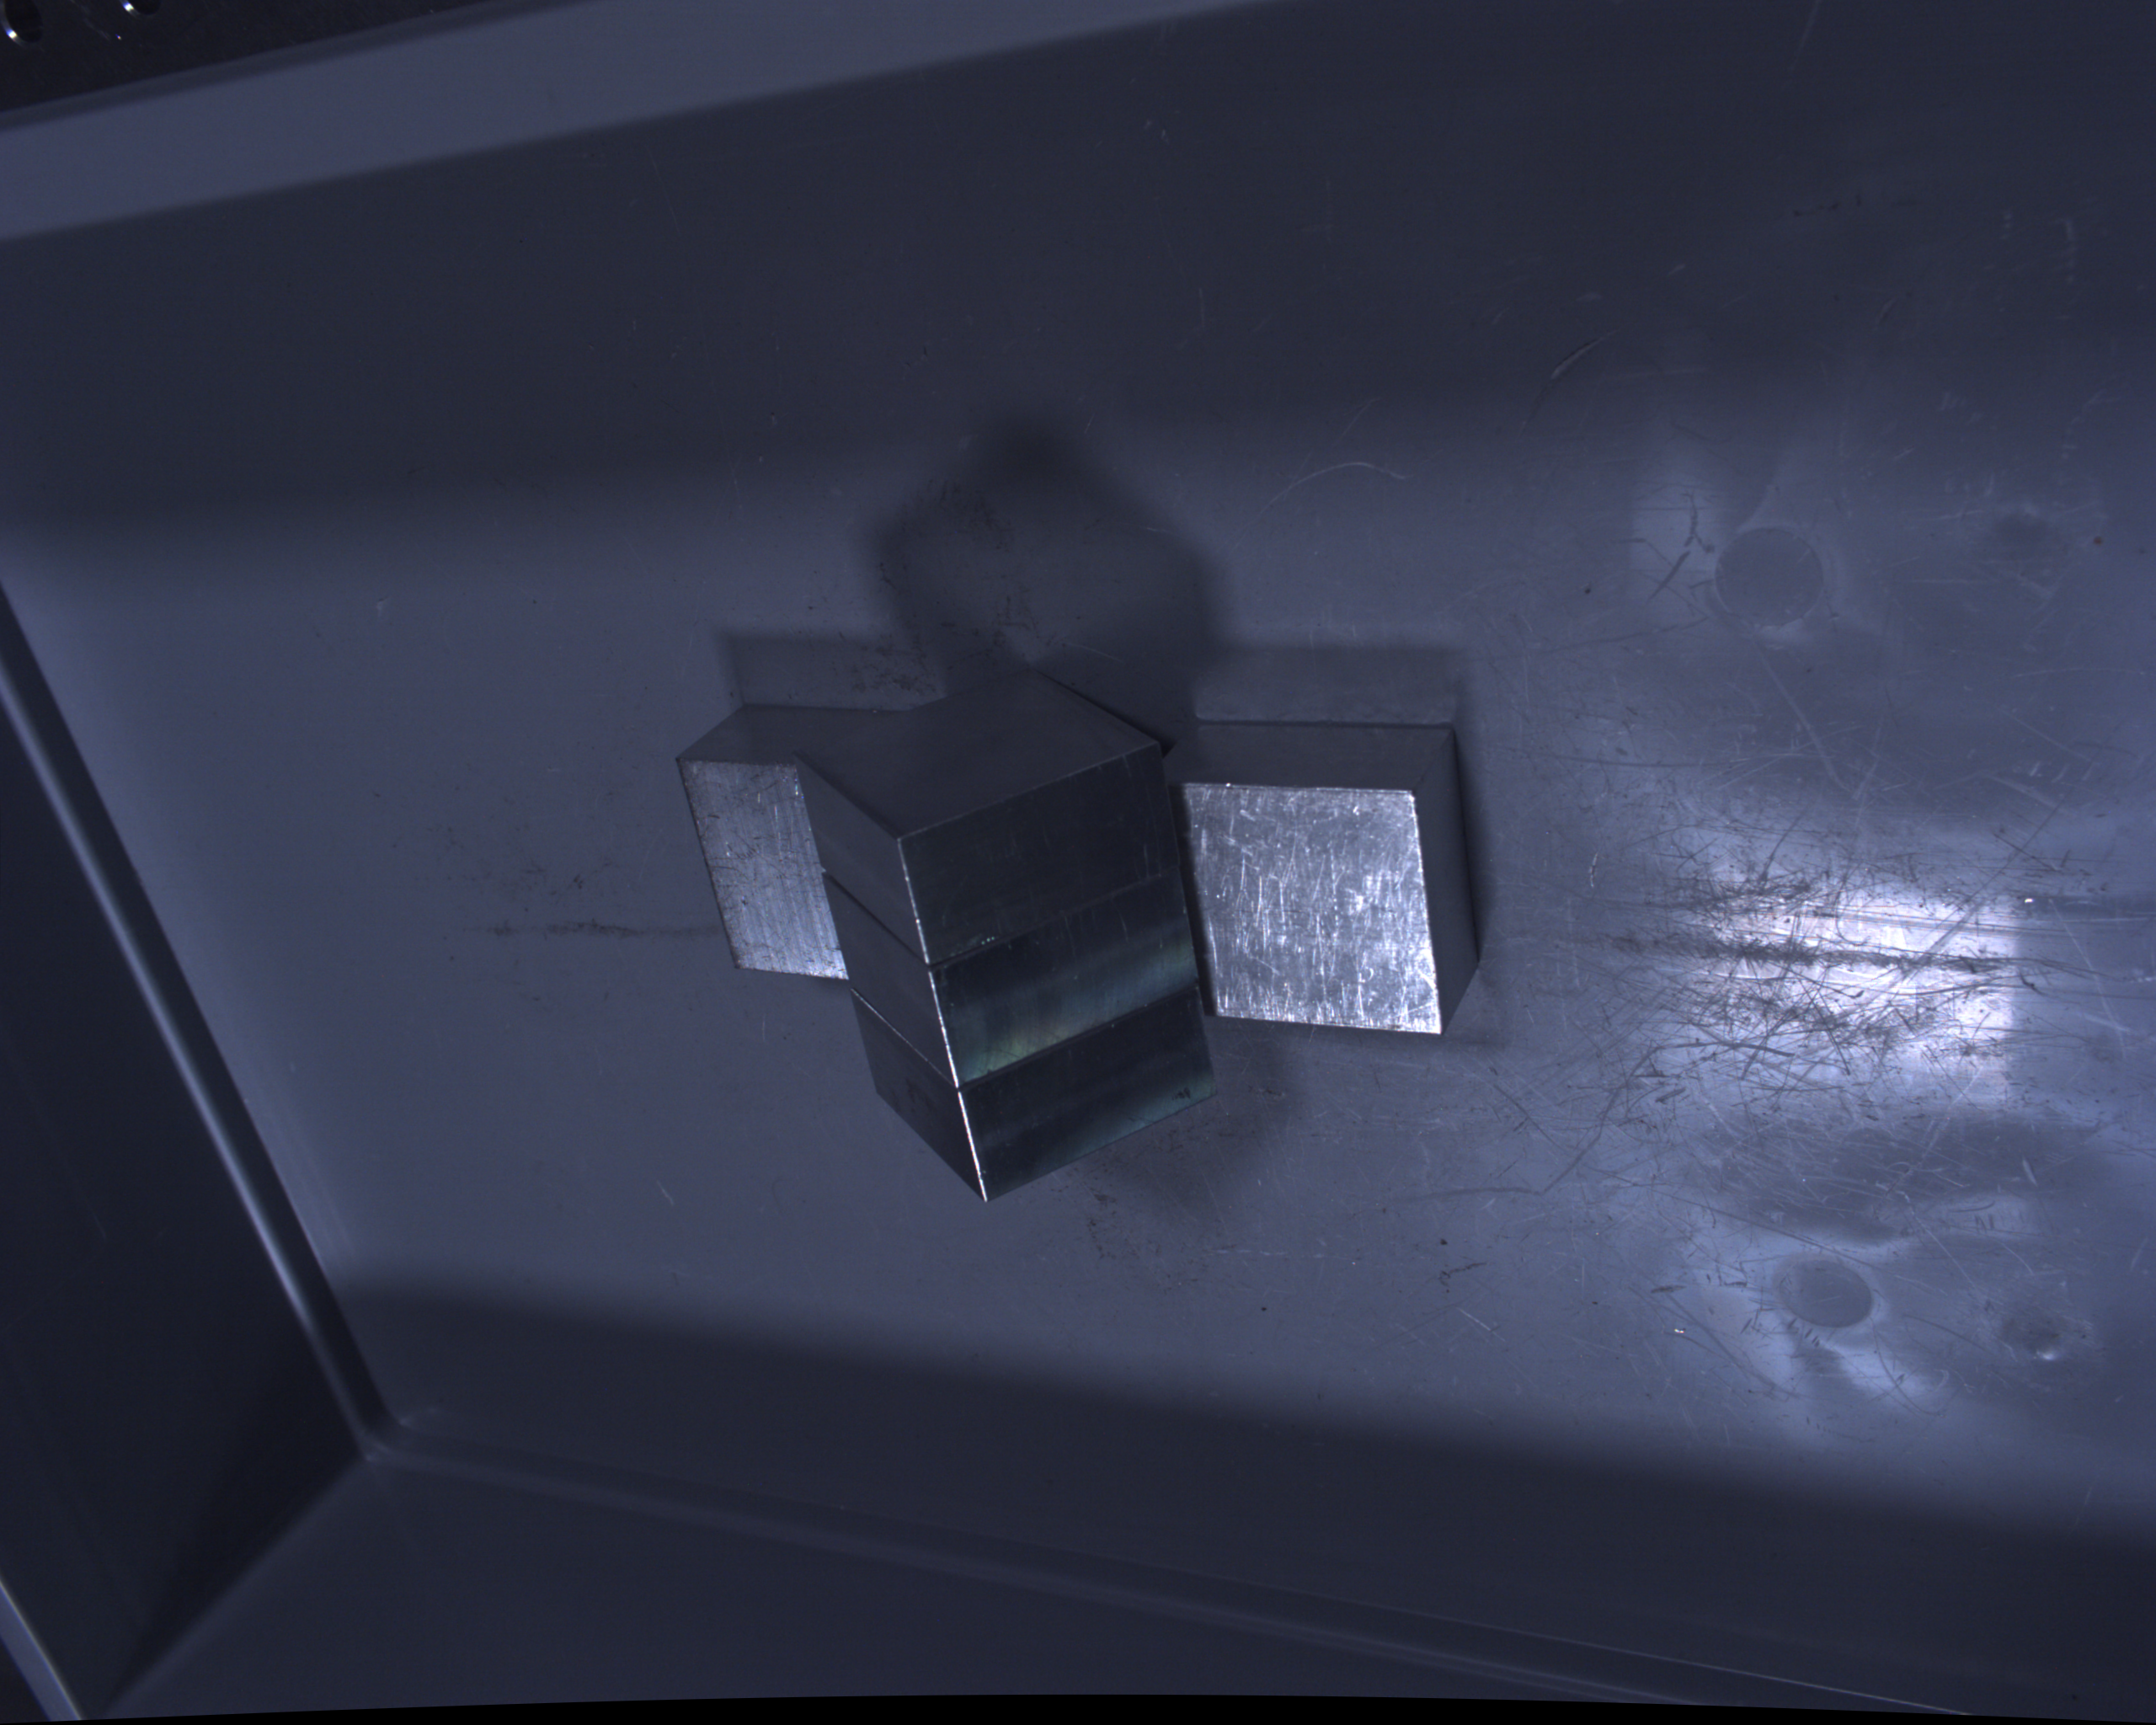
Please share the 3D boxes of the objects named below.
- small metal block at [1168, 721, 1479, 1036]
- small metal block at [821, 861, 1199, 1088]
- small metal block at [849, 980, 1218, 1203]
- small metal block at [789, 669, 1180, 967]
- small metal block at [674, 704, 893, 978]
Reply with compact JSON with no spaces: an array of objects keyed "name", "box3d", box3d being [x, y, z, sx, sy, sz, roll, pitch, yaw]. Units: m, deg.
[{"name":"small metal block","box3d":[0.044,0.002,0.384,0.050,0.025,0.050,3,120,26]},{"name":"small metal block","box3d":[-0.013,0.012,0.391,0.050,0.050,0.025,33,140,55]},{"name":"small metal block","box3d":[-0.009,0.034,0.402,0.050,0.050,0.025,33,140,55]},{"name":"small metal block","box3d":[-0.017,-0.010,0.379,0.050,0.050,0.025,34,140,55]},{"name":"small metal block","box3d":[-0.049,-0.004,0.428,0.050,0.025,0.050,4,120,26]}]
